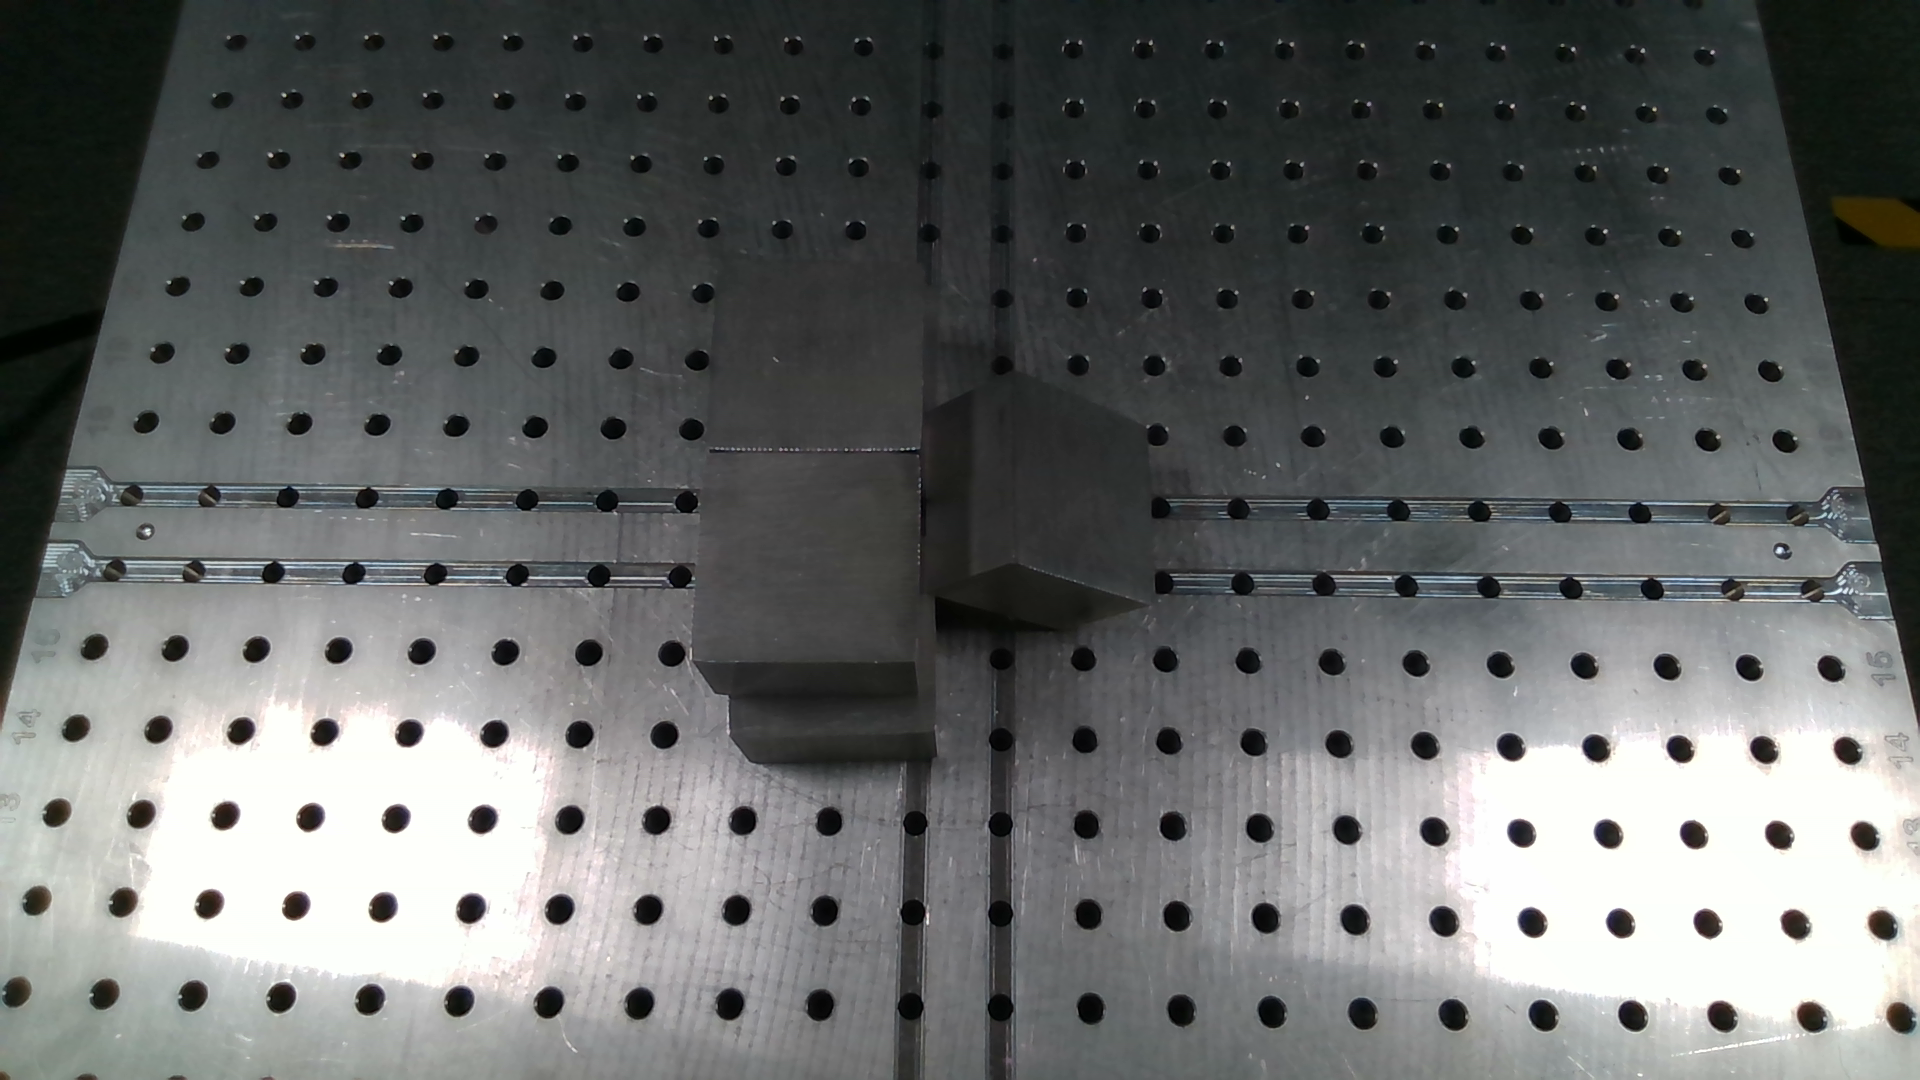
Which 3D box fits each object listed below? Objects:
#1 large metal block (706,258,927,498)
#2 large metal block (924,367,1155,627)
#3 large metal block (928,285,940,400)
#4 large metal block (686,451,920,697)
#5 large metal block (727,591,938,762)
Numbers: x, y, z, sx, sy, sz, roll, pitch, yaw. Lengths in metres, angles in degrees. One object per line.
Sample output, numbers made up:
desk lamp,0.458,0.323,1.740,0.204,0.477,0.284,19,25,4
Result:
large metal block,-0.054,-0.063,0.544,0.080,0.050,0.080,0,70,0
large metal block,0.032,-0.014,0.560,0.080,0.050,0.080,17,64,-39
large metal block,-0.050,-0.064,0.601,0.080,0.050,0.080,1,70,0
large metal block,-0.056,0.014,0.517,0.080,0.050,0.080,0,70,0
large metal block,-0.050,0.045,0.560,0.080,0.050,0.080,-1,70,0
